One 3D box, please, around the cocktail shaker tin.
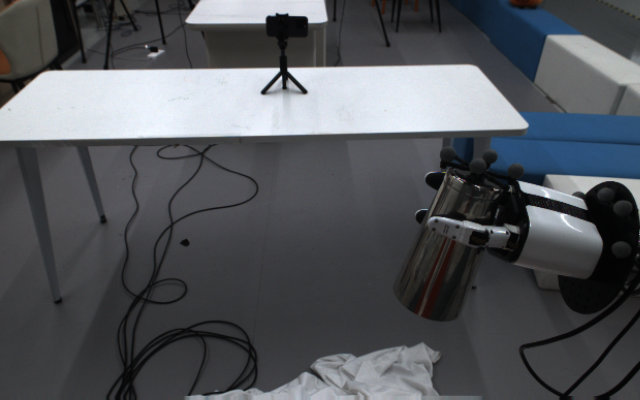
[{"bbox_3d":[0.161,0.046,0.587,0.093,0.170,0.093,12,25,-6],"label":"cocktail shaker tin"}]
